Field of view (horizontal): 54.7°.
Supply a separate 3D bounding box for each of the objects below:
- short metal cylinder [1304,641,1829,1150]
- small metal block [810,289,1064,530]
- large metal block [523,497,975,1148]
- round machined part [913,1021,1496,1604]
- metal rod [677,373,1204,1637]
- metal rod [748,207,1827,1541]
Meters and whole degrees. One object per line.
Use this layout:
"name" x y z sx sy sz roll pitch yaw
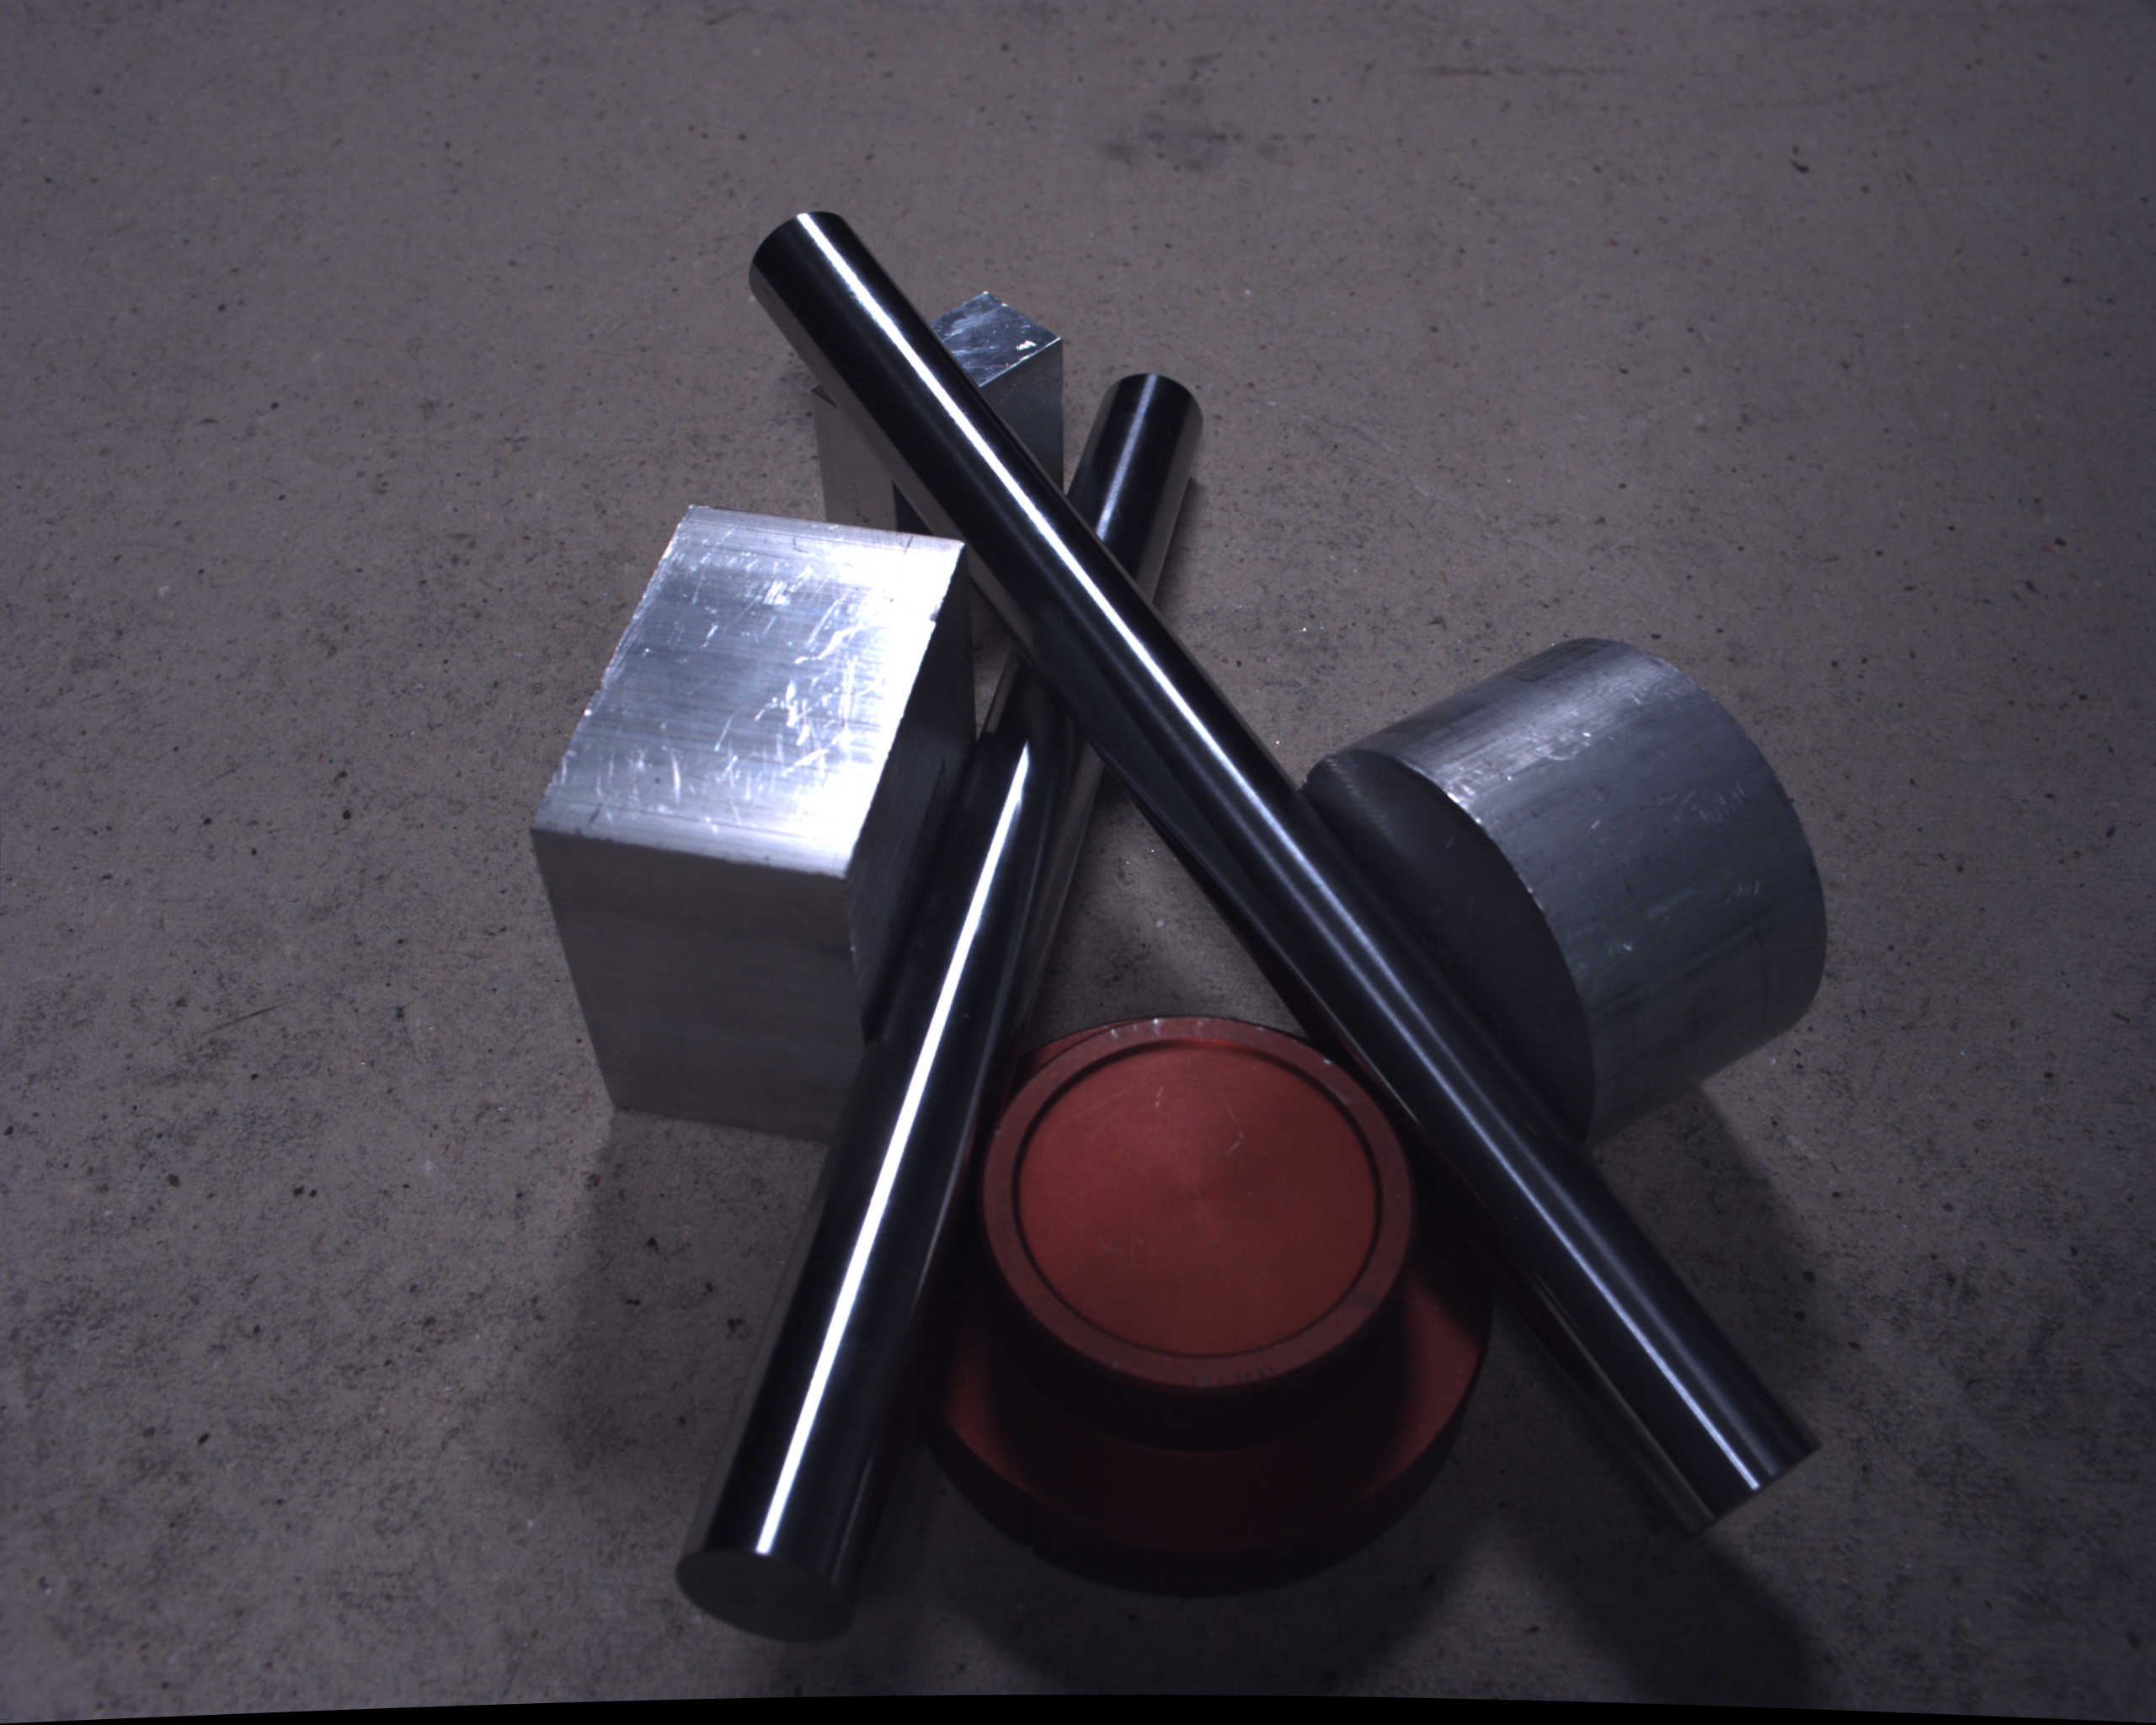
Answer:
"short metal cylinder" 0.082 0.008 0.364 0.050 0.080 0.080 -26 55 -20
"small metal block" -0.030 -0.091 0.464 0.025 0.050 0.050 38 59 27
"large metal block" -0.053 -0.006 0.373 0.050 0.080 0.080 9 51 7
"round machined part" 0.019 0.065 0.340 0.099 0.042 0.098 0 50 0
"metal rod" -0.012 -0.003 0.388 0.025 0.025 0.300 9 44 7
"metal rod" 0.022 -0.016 0.374 0.025 0.025 0.300 -26 64 -20
